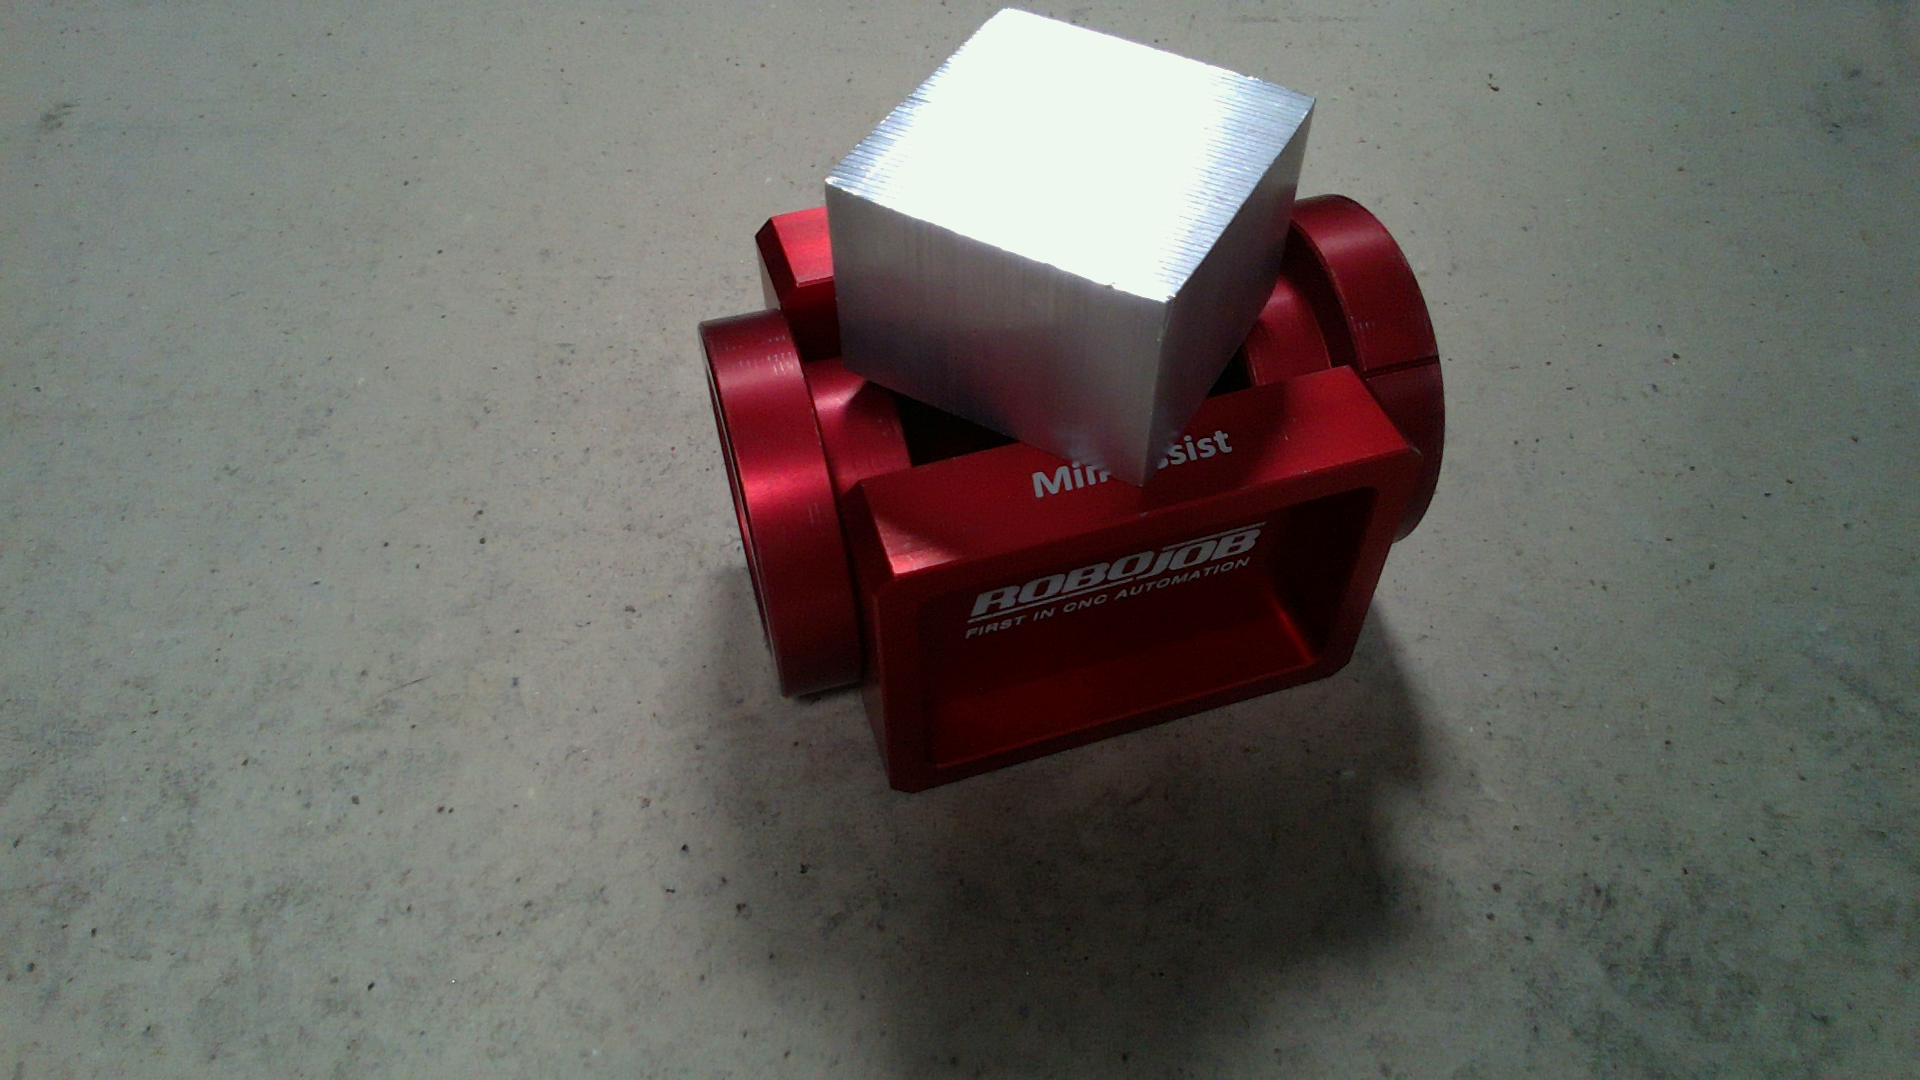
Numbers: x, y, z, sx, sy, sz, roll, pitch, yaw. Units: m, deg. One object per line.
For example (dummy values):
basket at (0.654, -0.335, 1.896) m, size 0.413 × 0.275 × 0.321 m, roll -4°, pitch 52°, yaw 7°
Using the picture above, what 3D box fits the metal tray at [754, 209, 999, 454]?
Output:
metal tray at (0.011, -0.061, 0.402) m, size 0.130 × 0.090 × 0.030 m, roll -14°, pitch 51°, yaw -12°

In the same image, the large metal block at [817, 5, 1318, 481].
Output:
large metal block at (0.025, -0.071, 0.314) m, size 0.080 × 0.050 × 0.080 m, roll 23°, pitch 54°, yaw 19°

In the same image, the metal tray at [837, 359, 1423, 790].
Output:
metal tray at (0.039, 0.011, 0.338) m, size 0.130 × 0.090 × 0.030 m, roll -14°, pitch 51°, yaw -11°

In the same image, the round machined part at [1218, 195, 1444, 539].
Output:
round machined part at (0.088, -0.042, 0.379) m, size 0.042 × 0.098 × 0.098 m, roll -12°, pitch 51°, yaw -10°

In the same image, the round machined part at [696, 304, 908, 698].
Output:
round machined part at (-0.037, -0.012, 0.354) m, size 0.042 × 0.098 × 0.098 m, roll -12°, pitch 51°, yaw -10°
